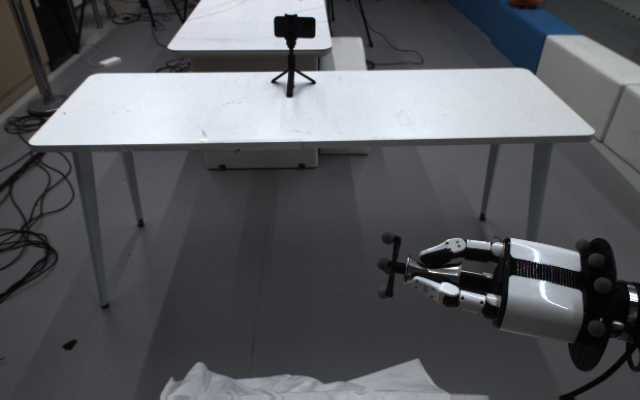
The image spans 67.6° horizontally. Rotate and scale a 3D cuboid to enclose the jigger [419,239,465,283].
[{"bbox_3d":[0.152,0.093,0.629,0.071,0.043,0.043,8,35,15],"label":"jigger"}]
